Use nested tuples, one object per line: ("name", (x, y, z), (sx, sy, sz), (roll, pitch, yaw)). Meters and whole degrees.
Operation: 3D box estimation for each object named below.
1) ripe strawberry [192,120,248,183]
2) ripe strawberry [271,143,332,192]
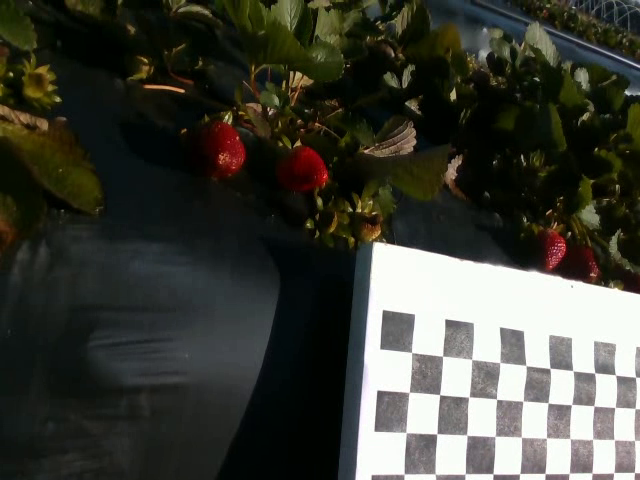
("ripe strawberry", (-0.073, -0.061, 0.403), (0.050, 0.045, 0.050), (30, 5, -23))
("ripe strawberry", (-0.010, -0.051, 0.439), (0.042, 0.039, 0.049), (-37, 39, -23))
